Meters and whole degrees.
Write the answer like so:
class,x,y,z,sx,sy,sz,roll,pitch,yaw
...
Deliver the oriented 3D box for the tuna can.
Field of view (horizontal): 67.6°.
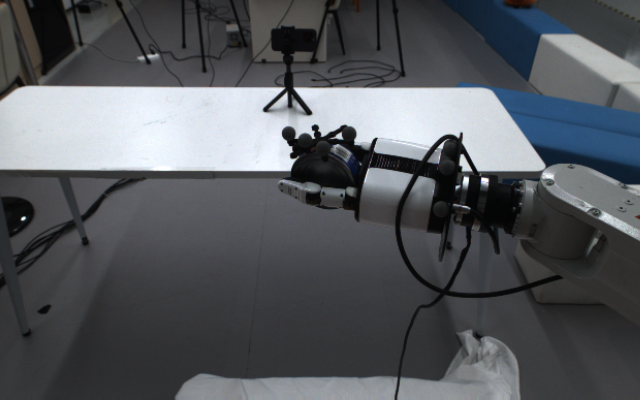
class,x,y,z,sx,sy,sz,roll,pitch,yaw
tuna can,0.010,-0.033,0.615,0.085,0.085,0.034,14,40,16
